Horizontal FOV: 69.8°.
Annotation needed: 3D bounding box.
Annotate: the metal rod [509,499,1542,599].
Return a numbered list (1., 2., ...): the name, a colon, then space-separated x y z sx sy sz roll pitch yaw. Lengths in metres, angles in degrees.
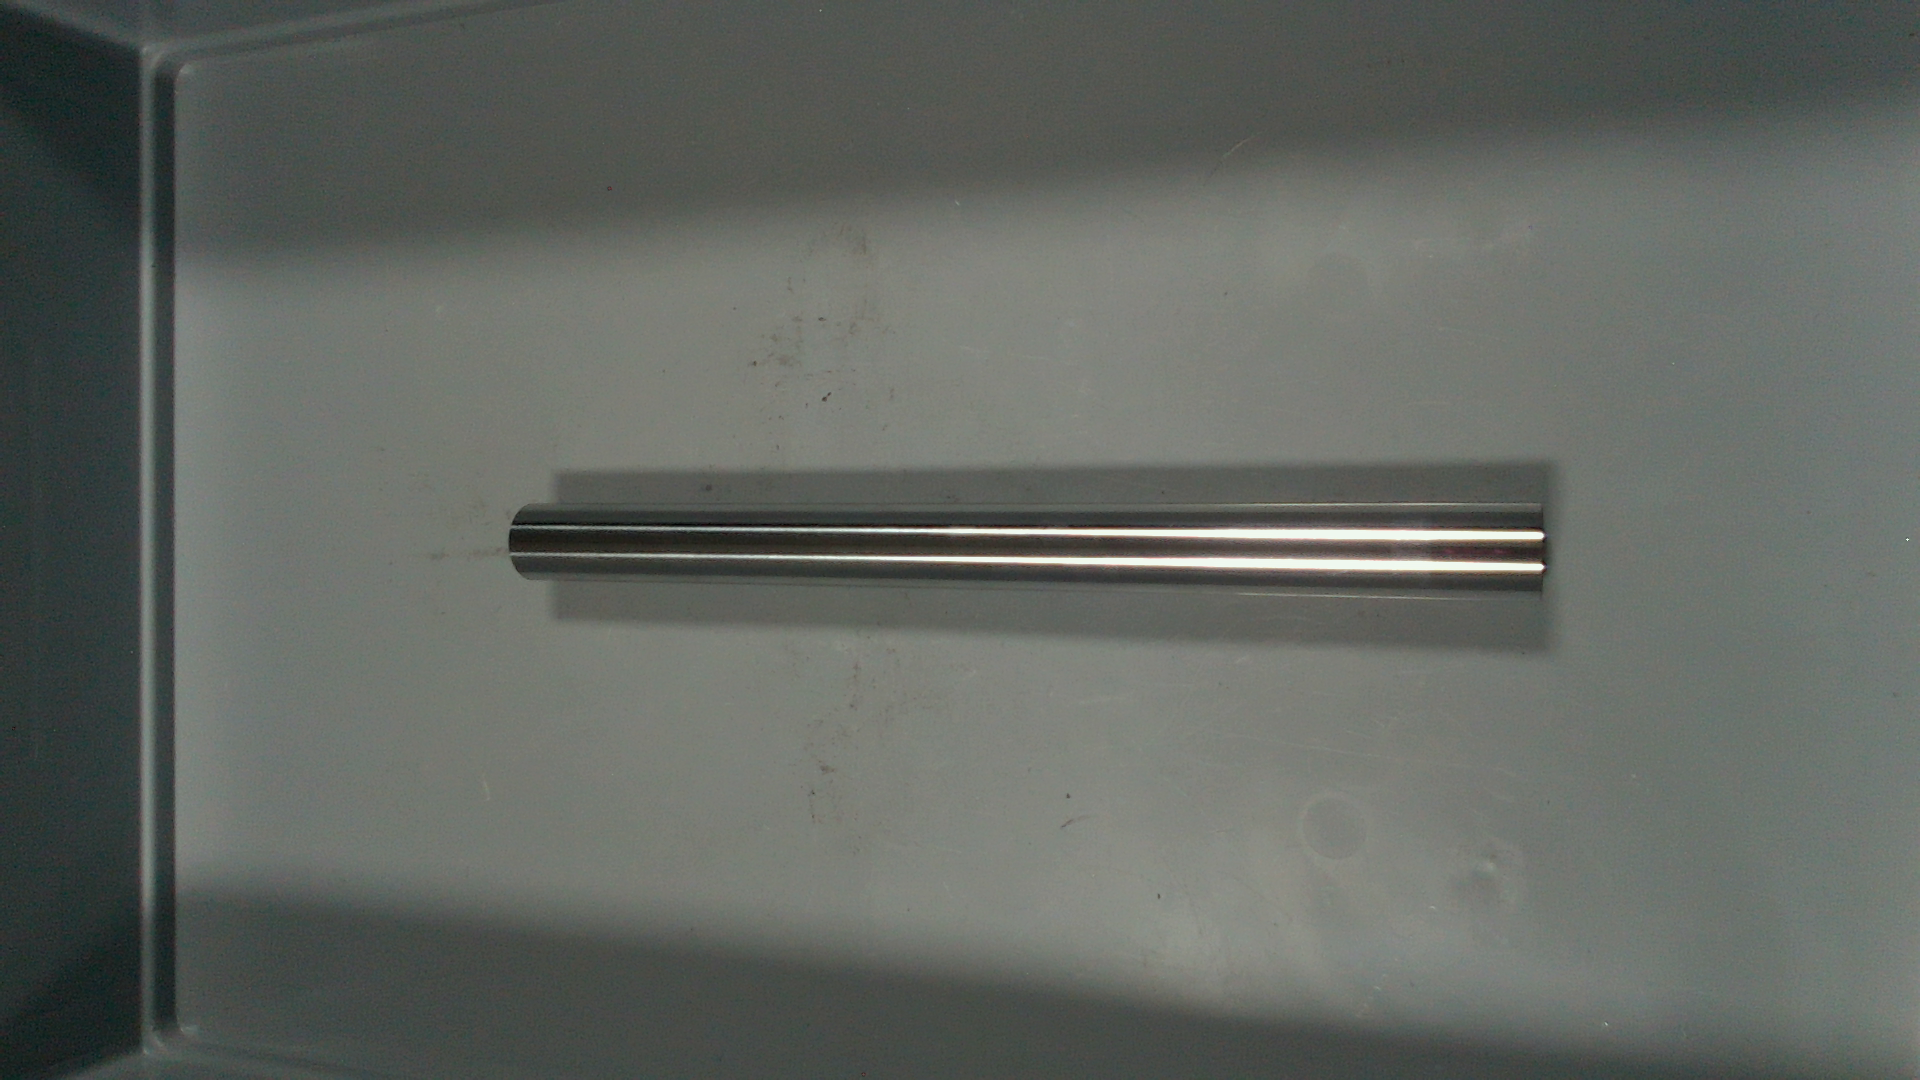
1. metal rod: 0.003 0.002 0.393 0.299 0.025 0.025 0 90 20
